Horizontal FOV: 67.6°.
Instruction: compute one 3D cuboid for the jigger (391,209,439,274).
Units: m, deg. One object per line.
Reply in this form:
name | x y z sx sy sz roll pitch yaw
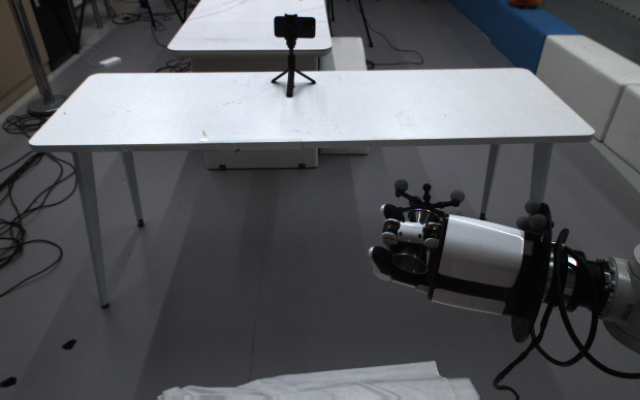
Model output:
jigger | 0.120 0.048 0.582 0.043 0.043 0.071 13 57 15
